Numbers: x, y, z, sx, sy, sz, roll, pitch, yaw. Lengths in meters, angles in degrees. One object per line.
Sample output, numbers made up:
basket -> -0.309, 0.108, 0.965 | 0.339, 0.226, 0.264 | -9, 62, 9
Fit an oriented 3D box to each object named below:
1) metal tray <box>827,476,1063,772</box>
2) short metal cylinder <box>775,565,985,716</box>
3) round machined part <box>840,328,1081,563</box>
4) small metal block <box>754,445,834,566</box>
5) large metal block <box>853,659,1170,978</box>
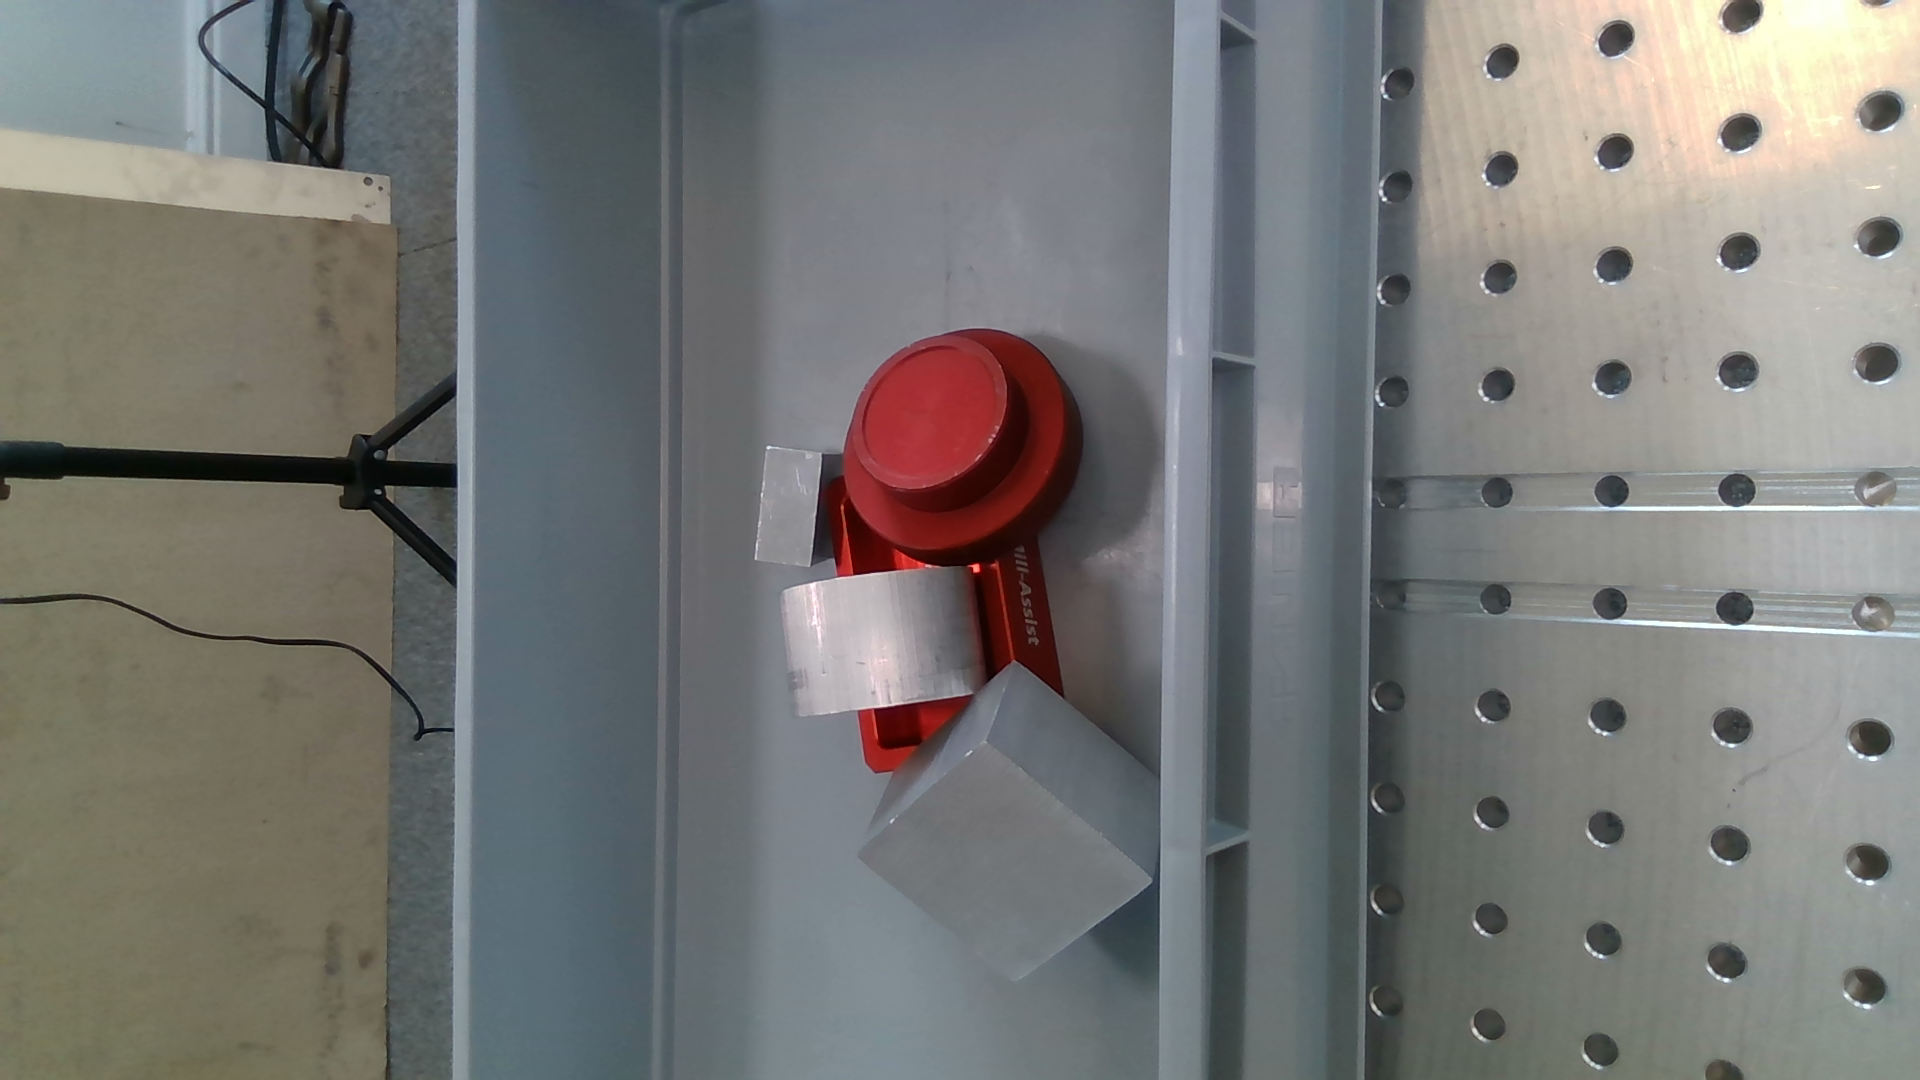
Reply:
metal tray -> -0.007, 0.028, 0.586 | 0.090, 0.030, 0.130 | -15, 81, 39
short metal cylinder -> -0.031, 0.041, 0.556 | 0.080, 0.080, 0.050 | -12, 83, 40
round machined part -> -0.005, -0.043, 0.549 | 0.098, 0.042, 0.098 | -10, 63, 21
small metal block -> -0.072, -0.017, 0.622 | 0.025, 0.050, 0.050 | 7, 95, 6
large metal block -> 0.020, 0.107, 0.523 | 0.080, 0.050, 0.080 | 39, 121, -8
